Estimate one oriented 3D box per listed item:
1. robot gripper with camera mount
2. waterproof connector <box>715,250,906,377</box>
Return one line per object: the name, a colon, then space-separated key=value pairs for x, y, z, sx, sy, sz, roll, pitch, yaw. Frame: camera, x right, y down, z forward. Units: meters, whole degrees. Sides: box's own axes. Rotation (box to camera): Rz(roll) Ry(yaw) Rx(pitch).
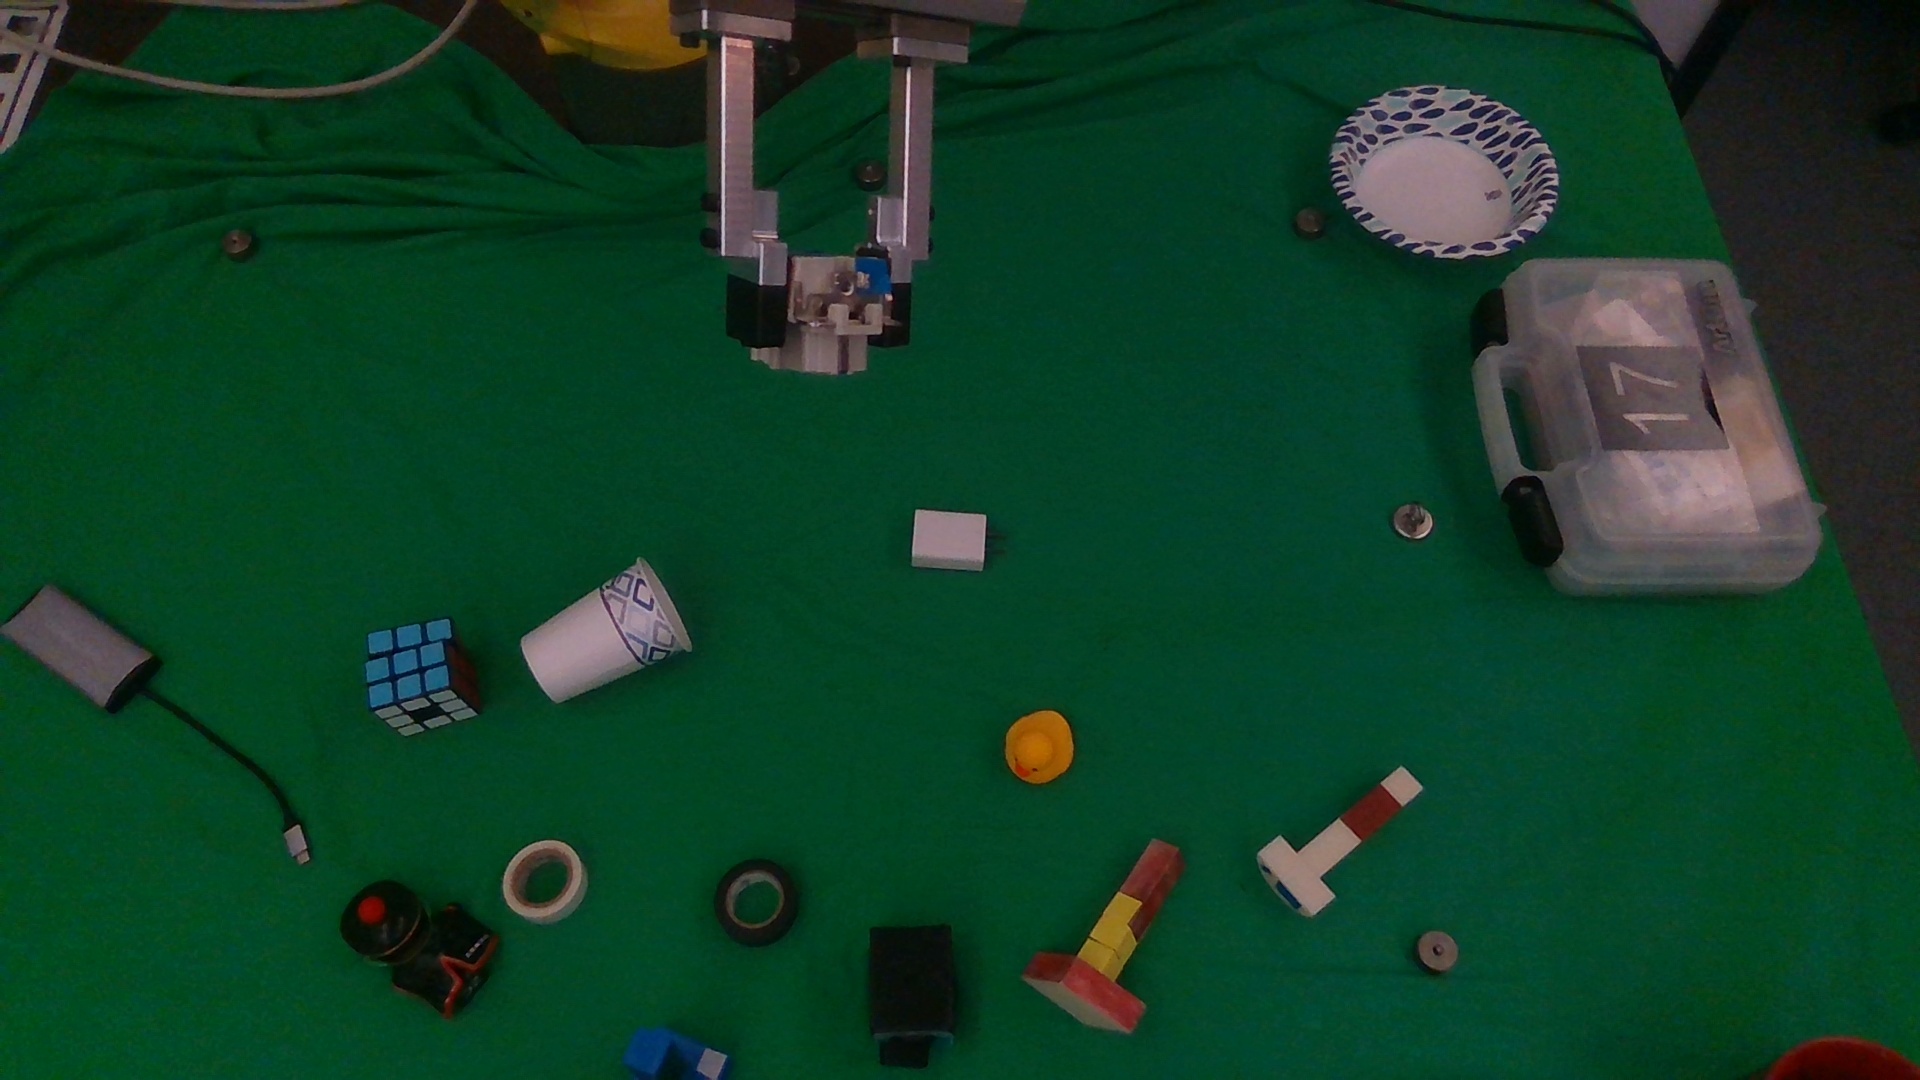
robot gripper with camera mount: x=0.013 y=-0.125 z=0.364 sx=0.118 sy=0.158 sz=0.194 roll=-6 pitch=16 yaw=-42
waterproof connector: x=-0.049 y=-0.072 z=0.439 sx=0.034 sy=0.037 sz=0.065 roll=-11 pitch=17 yaw=-36
